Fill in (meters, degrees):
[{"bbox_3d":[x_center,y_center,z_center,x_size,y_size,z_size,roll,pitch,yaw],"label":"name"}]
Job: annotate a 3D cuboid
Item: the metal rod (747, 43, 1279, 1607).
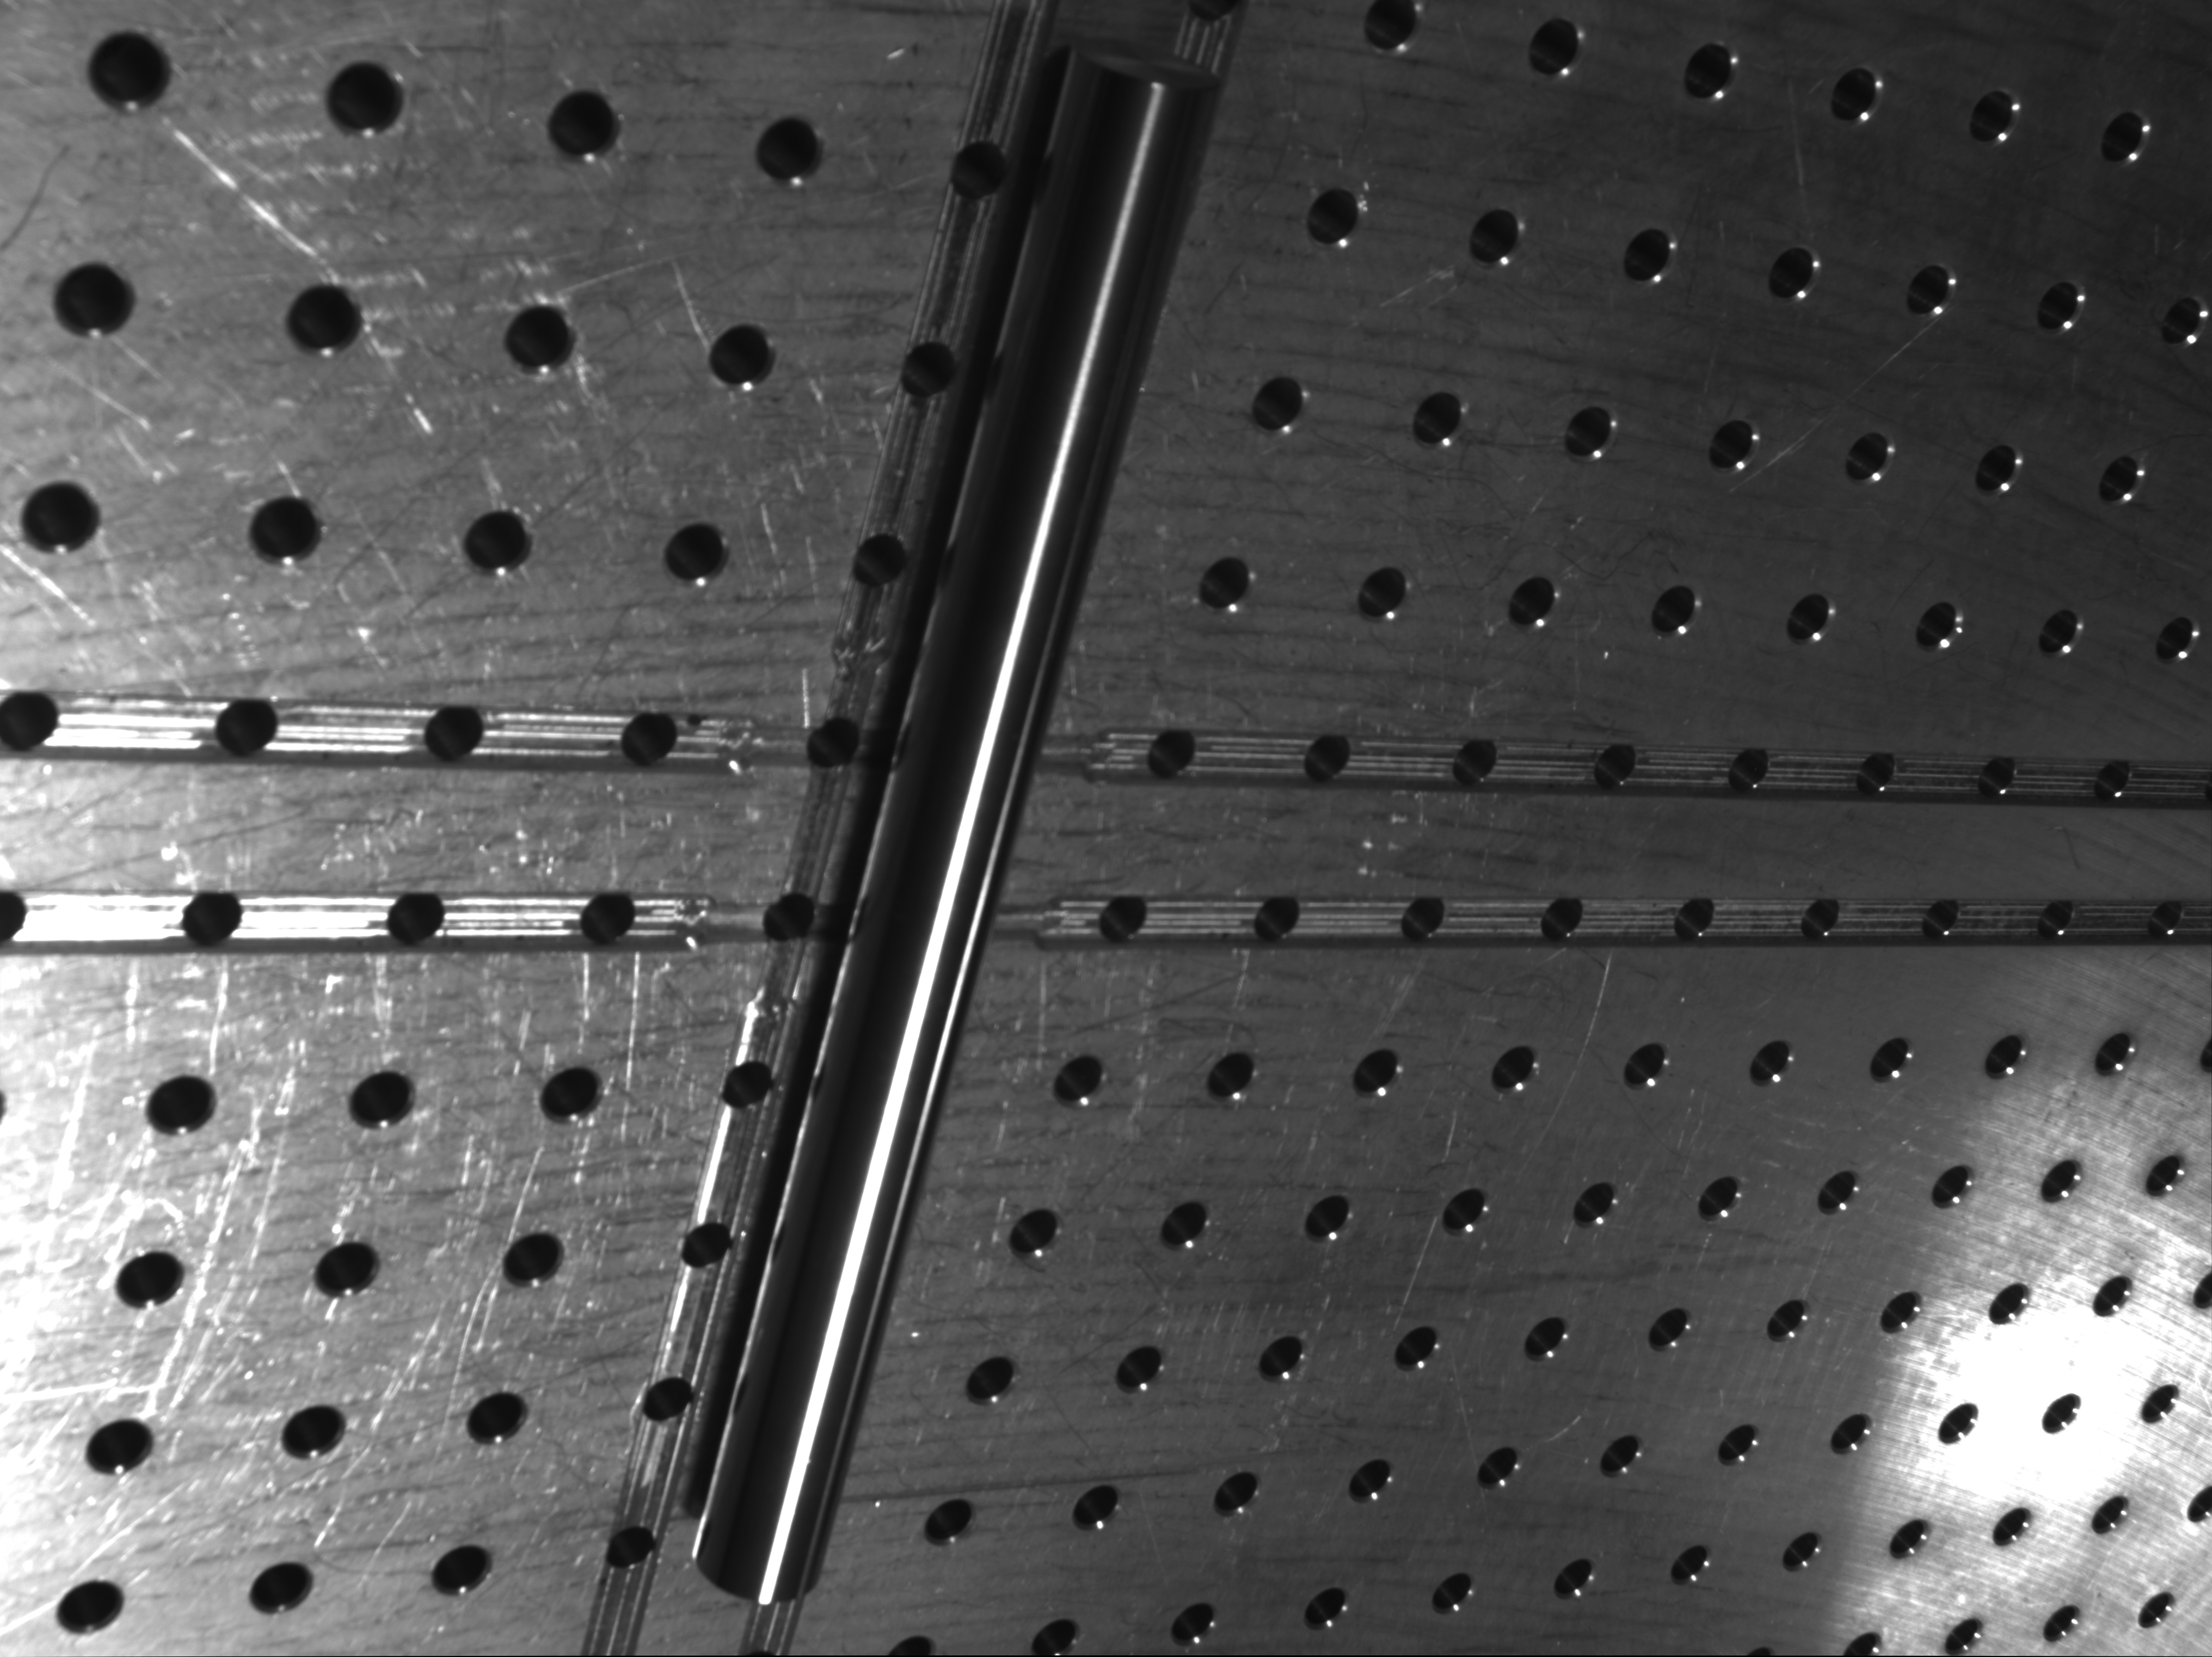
[{"bbox_3d":[-0.021,0.010,0.648,0.025,0.025,0.300,0,118,-30],"label":"metal rod"}]
